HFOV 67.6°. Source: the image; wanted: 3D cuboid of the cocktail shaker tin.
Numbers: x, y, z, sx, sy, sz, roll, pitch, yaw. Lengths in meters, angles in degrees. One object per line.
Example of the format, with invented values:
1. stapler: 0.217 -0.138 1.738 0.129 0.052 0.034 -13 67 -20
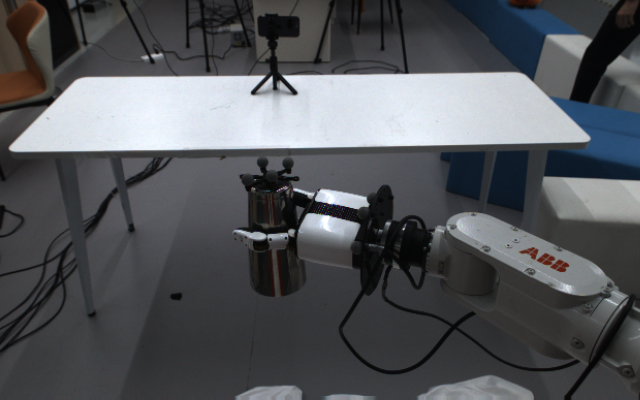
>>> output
1. cocktail shaker tin: -0.069 0.051 0.743 0.093 0.170 0.093 -2 26 1
